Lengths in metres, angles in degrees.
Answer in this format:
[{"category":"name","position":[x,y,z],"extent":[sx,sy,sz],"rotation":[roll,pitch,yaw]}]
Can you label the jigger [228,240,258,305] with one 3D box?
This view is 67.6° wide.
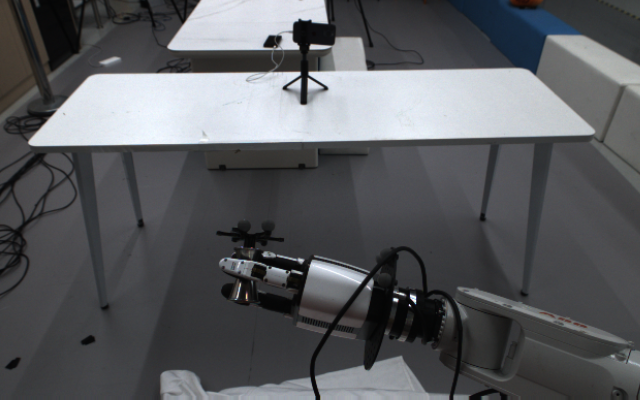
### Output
[{"category":"jigger","position":[-0.096,0.098,0.629],"extent":[0.043,0.043,0.071],"rotation":[3,75,2]}]
